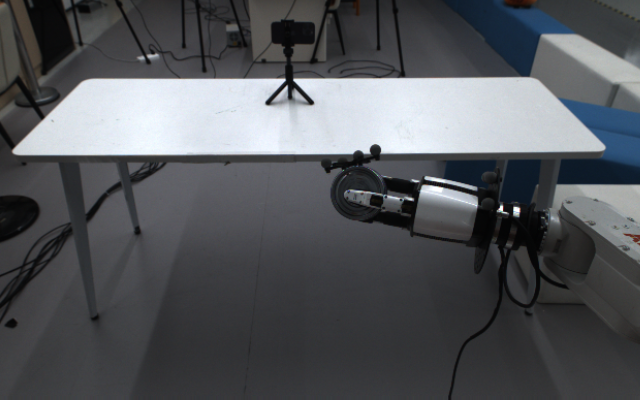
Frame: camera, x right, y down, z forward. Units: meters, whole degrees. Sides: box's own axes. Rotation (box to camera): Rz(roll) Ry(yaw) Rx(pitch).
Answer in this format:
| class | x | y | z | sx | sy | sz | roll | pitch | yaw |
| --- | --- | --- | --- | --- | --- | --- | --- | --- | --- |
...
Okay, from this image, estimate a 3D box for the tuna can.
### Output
| class | x | y | z | sx | sy | sz | roll | pitch | yaw |
| --- | --- | --- | --- | --- | --- | --- | --- | --- | --- |
| tuna can | 0.064 | -0.005 | 0.746 | 0.085 | 0.085 | 0.034 | 12 | 3 | 14 |
